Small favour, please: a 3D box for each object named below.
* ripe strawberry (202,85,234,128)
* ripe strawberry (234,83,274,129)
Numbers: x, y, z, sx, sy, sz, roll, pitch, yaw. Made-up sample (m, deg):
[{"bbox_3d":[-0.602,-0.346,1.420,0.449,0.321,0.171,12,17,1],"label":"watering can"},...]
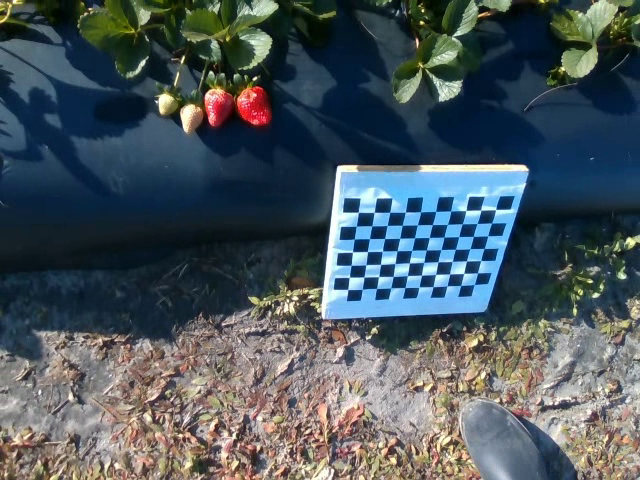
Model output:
[{"bbox_3d":[-0.138,-0.179,0.840,0.050,0.061,0.043,19,-18,-25],"label":"ripe strawberry"},{"bbox_3d":[-0.084,-0.179,0.844,0.056,0.067,0.051,-44,-23,17],"label":"ripe strawberry"}]
